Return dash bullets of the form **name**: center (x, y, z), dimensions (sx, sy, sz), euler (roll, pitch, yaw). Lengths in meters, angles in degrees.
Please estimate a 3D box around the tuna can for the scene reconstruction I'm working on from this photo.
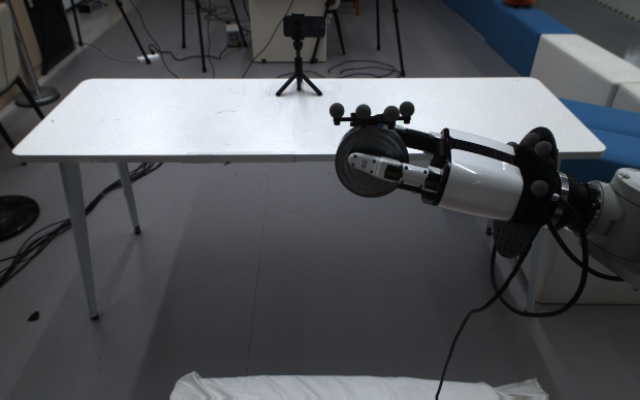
- **tuna can**: center (0.062, -0.049, 0.576), dimensions (0.085, 0.085, 0.034), euler (4, 18, 3)
